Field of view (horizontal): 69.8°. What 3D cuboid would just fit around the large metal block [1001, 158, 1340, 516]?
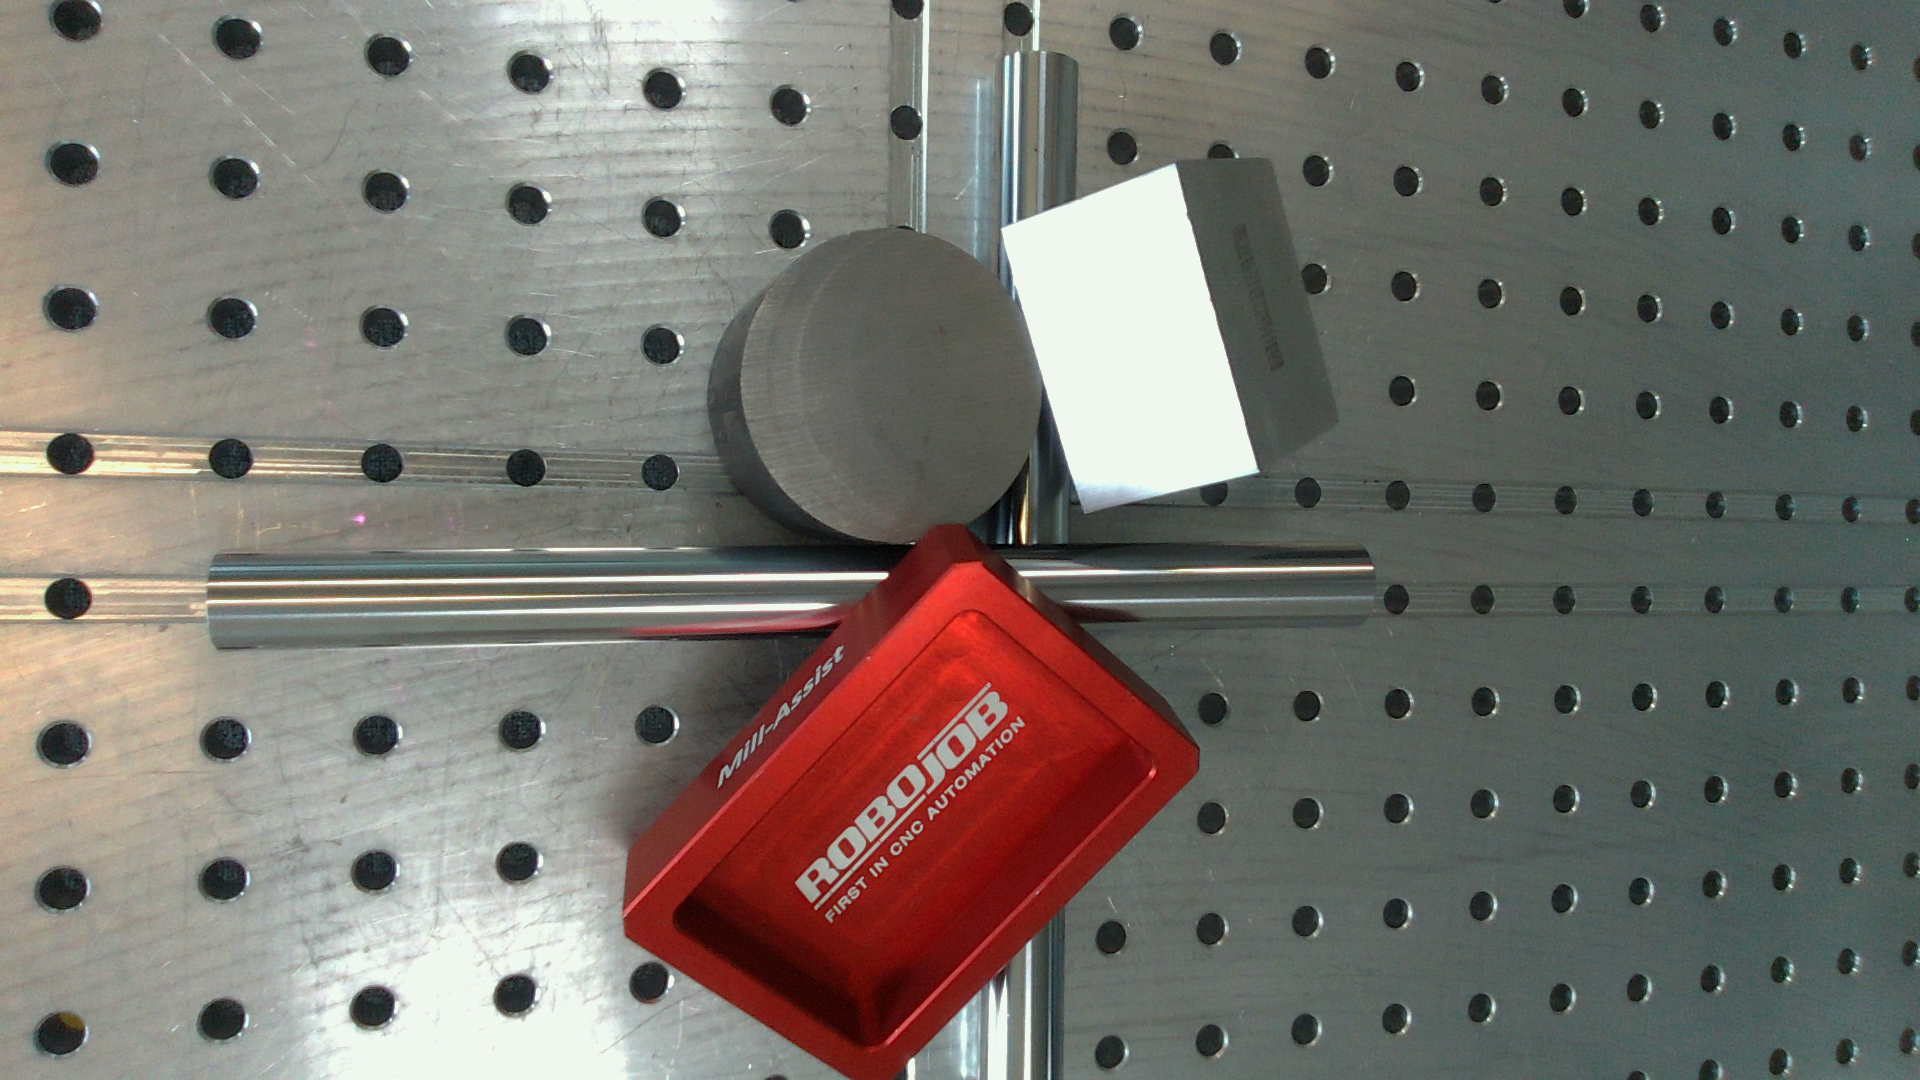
[{"bbox_3d":[0.062,-0.059,0.384,0.080,0.050,0.080,-27,102,-58],"label":"large metal block"}]

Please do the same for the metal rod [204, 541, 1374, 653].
[{"bbox_3d":[-0.032,0.014,0.366,0.301,0.025,0.025,0,90,-13],"label":"metal rod"}]

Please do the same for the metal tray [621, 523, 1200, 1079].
[{"bbox_3d":[-0.013,0.071,0.361,0.090,0.030,0.130,41,98,-21],"label":"metal tray"}]

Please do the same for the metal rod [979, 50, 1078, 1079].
[{"bbox_3d":[0.020,0.011,0.403,0.025,0.025,0.300,1,90,-20],"label":"metal rod"}]

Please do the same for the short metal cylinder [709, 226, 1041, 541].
[{"bbox_3d":[-0.025,-0.040,0.373,0.080,0.050,0.080,0,90,-20],"label":"short metal cylinder"}]
